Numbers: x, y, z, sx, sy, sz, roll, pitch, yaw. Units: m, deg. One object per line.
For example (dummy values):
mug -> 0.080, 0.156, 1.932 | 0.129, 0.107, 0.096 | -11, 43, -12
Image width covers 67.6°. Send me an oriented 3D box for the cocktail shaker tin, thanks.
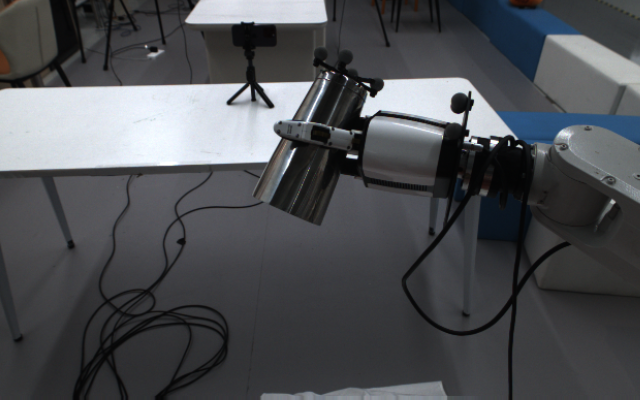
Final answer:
cocktail shaker tin -> -0.005, -0.067, 0.588 | 0.093, 0.170, 0.093 | 23, 0, 0
